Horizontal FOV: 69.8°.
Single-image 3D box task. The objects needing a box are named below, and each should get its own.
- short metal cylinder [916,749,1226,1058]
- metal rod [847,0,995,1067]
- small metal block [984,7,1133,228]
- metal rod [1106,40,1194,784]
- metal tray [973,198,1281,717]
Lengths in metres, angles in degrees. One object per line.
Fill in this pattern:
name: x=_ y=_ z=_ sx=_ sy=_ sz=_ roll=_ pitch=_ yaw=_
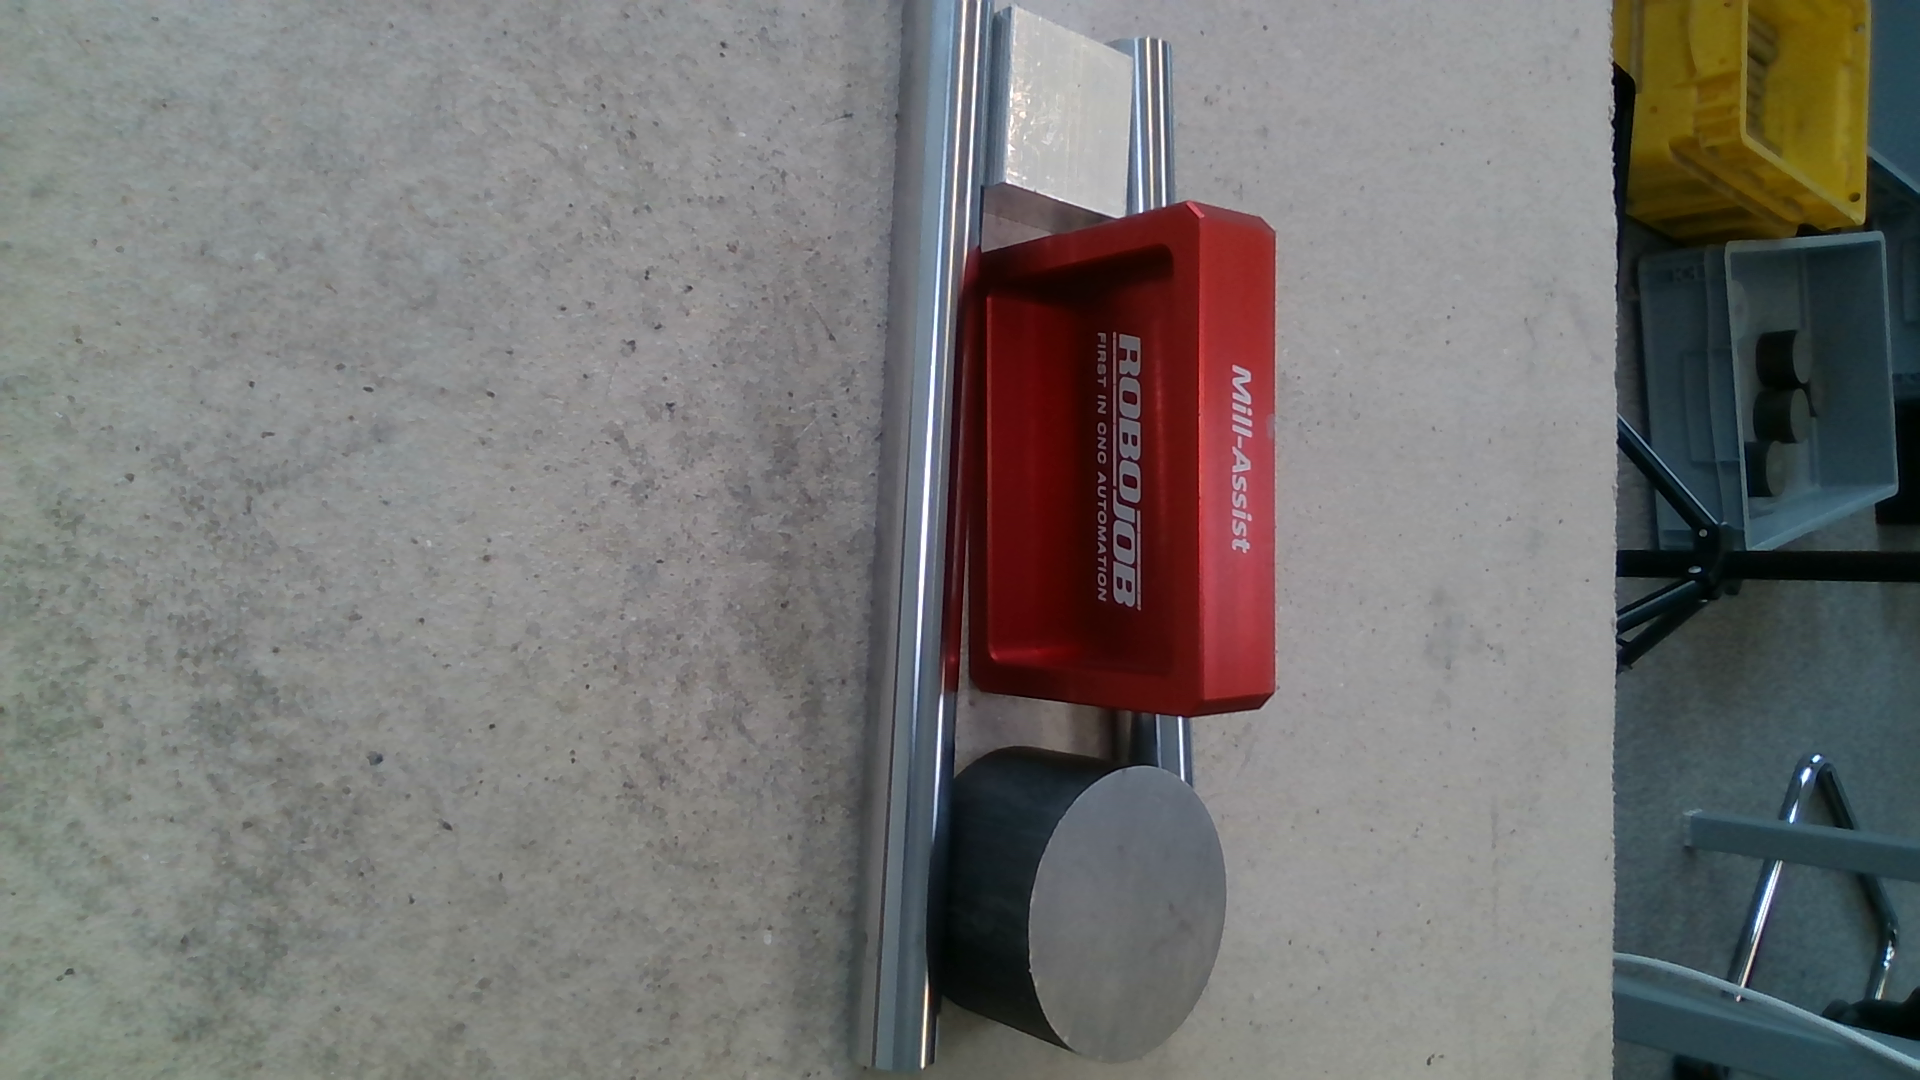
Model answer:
short metal cylinder: x=0.032 y=0.103 z=0.402 sx=0.080 sy=0.050 sz=0.080 roll=0 pitch=90 yaw=-40
metal rod: x=-0.010 y=-0.009 z=0.383 sx=0.025 sy=0.025 sz=0.300 roll=5 pitch=87 yaw=-40
small metal block: x=0.024 y=-0.123 z=0.412 sx=0.050 sy=0.025 sz=0.050 roll=5 pitch=87 yaw=-40
metal rod: x=0.060 y=-0.005 z=0.442 sx=0.025 sy=0.025 sz=0.300 roll=-4 pitch=93 yaw=-40
metal tray: x=0.044 y=-0.020 z=0.384 sx=0.030 sy=0.090 sz=0.130 roll=0 pitch=90 yaw=-40
